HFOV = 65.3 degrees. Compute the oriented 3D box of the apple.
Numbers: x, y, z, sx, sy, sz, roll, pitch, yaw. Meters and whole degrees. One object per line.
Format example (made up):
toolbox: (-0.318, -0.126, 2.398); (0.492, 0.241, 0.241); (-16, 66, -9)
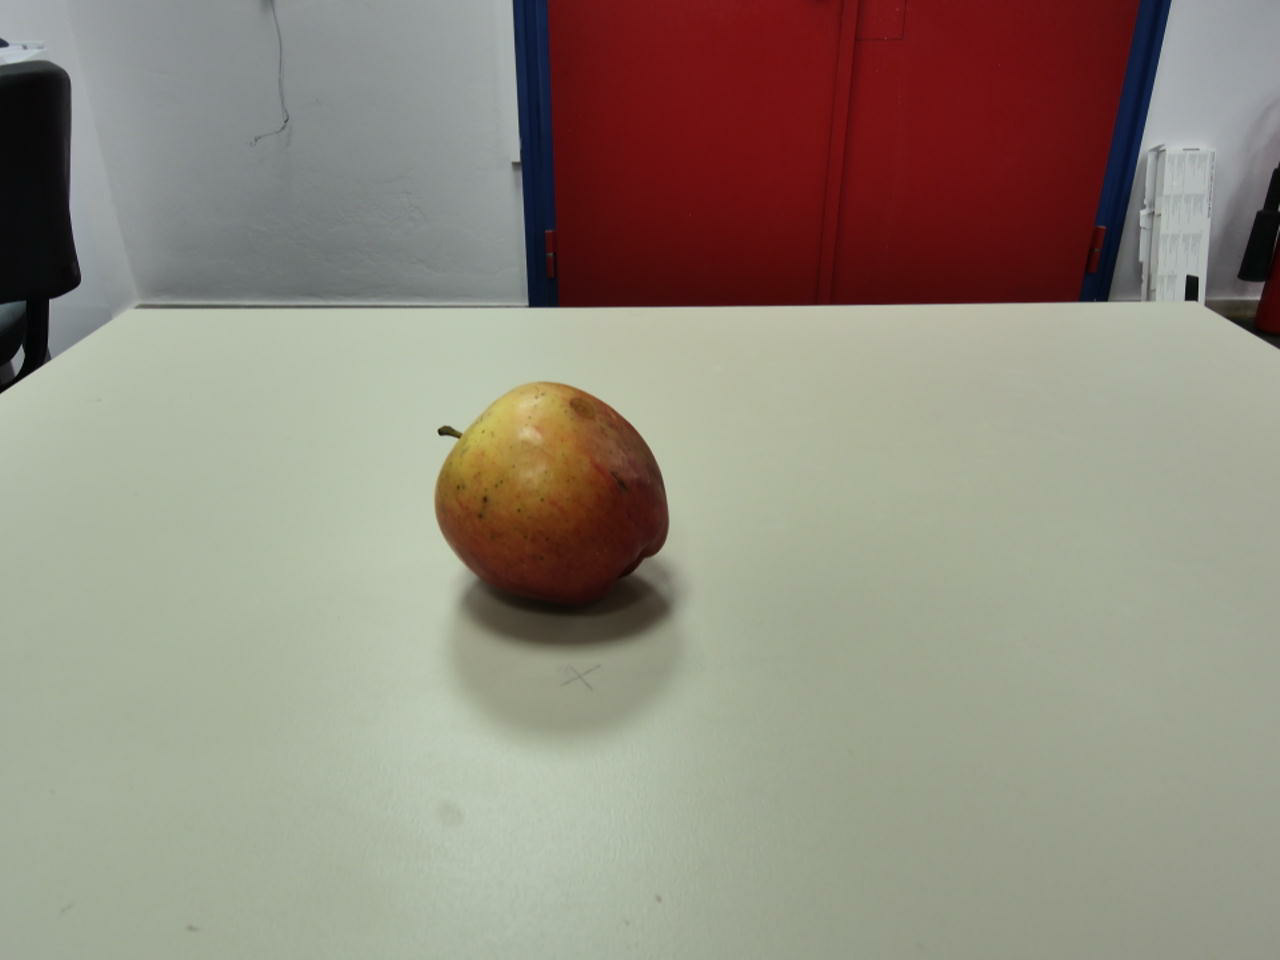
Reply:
apple: (-0.037, 0.005, 0.399); (0.086, 0.084, 0.093); (-16, 29, -32)
